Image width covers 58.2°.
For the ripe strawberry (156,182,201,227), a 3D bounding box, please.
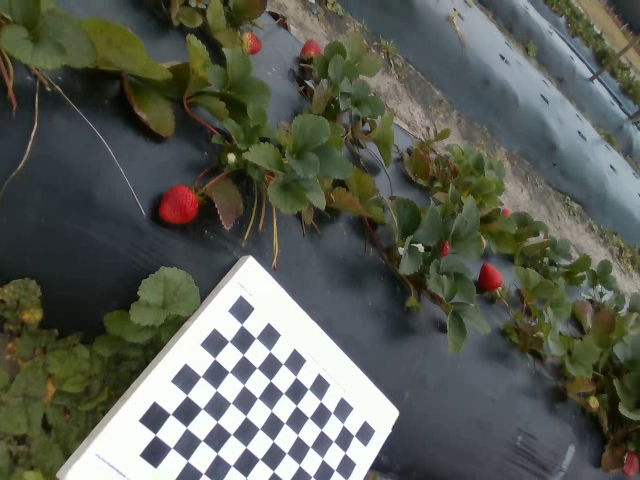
[{"bbox_3d":[-0.098,-0.024,0.386,0.033,0.028,0.023,-37,11,-34],"label":"ripe strawberry"}]
